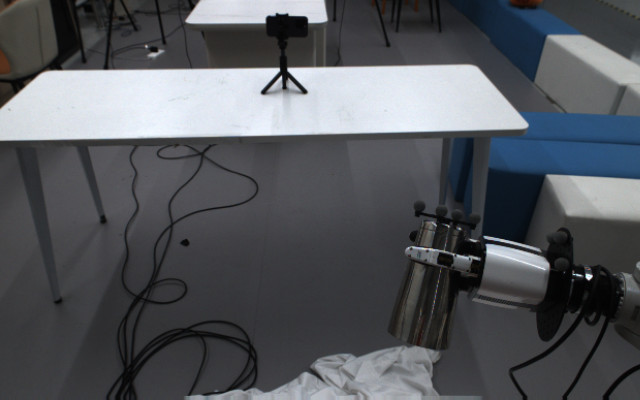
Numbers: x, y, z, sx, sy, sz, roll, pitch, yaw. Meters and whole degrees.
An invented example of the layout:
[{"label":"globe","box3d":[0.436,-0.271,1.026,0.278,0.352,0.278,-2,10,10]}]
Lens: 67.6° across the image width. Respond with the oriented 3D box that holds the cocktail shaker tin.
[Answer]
[{"label":"cocktail shaker tin","box3d":[0.166,0.115,0.707,0.093,0.170,0.093,13,1,0]}]
